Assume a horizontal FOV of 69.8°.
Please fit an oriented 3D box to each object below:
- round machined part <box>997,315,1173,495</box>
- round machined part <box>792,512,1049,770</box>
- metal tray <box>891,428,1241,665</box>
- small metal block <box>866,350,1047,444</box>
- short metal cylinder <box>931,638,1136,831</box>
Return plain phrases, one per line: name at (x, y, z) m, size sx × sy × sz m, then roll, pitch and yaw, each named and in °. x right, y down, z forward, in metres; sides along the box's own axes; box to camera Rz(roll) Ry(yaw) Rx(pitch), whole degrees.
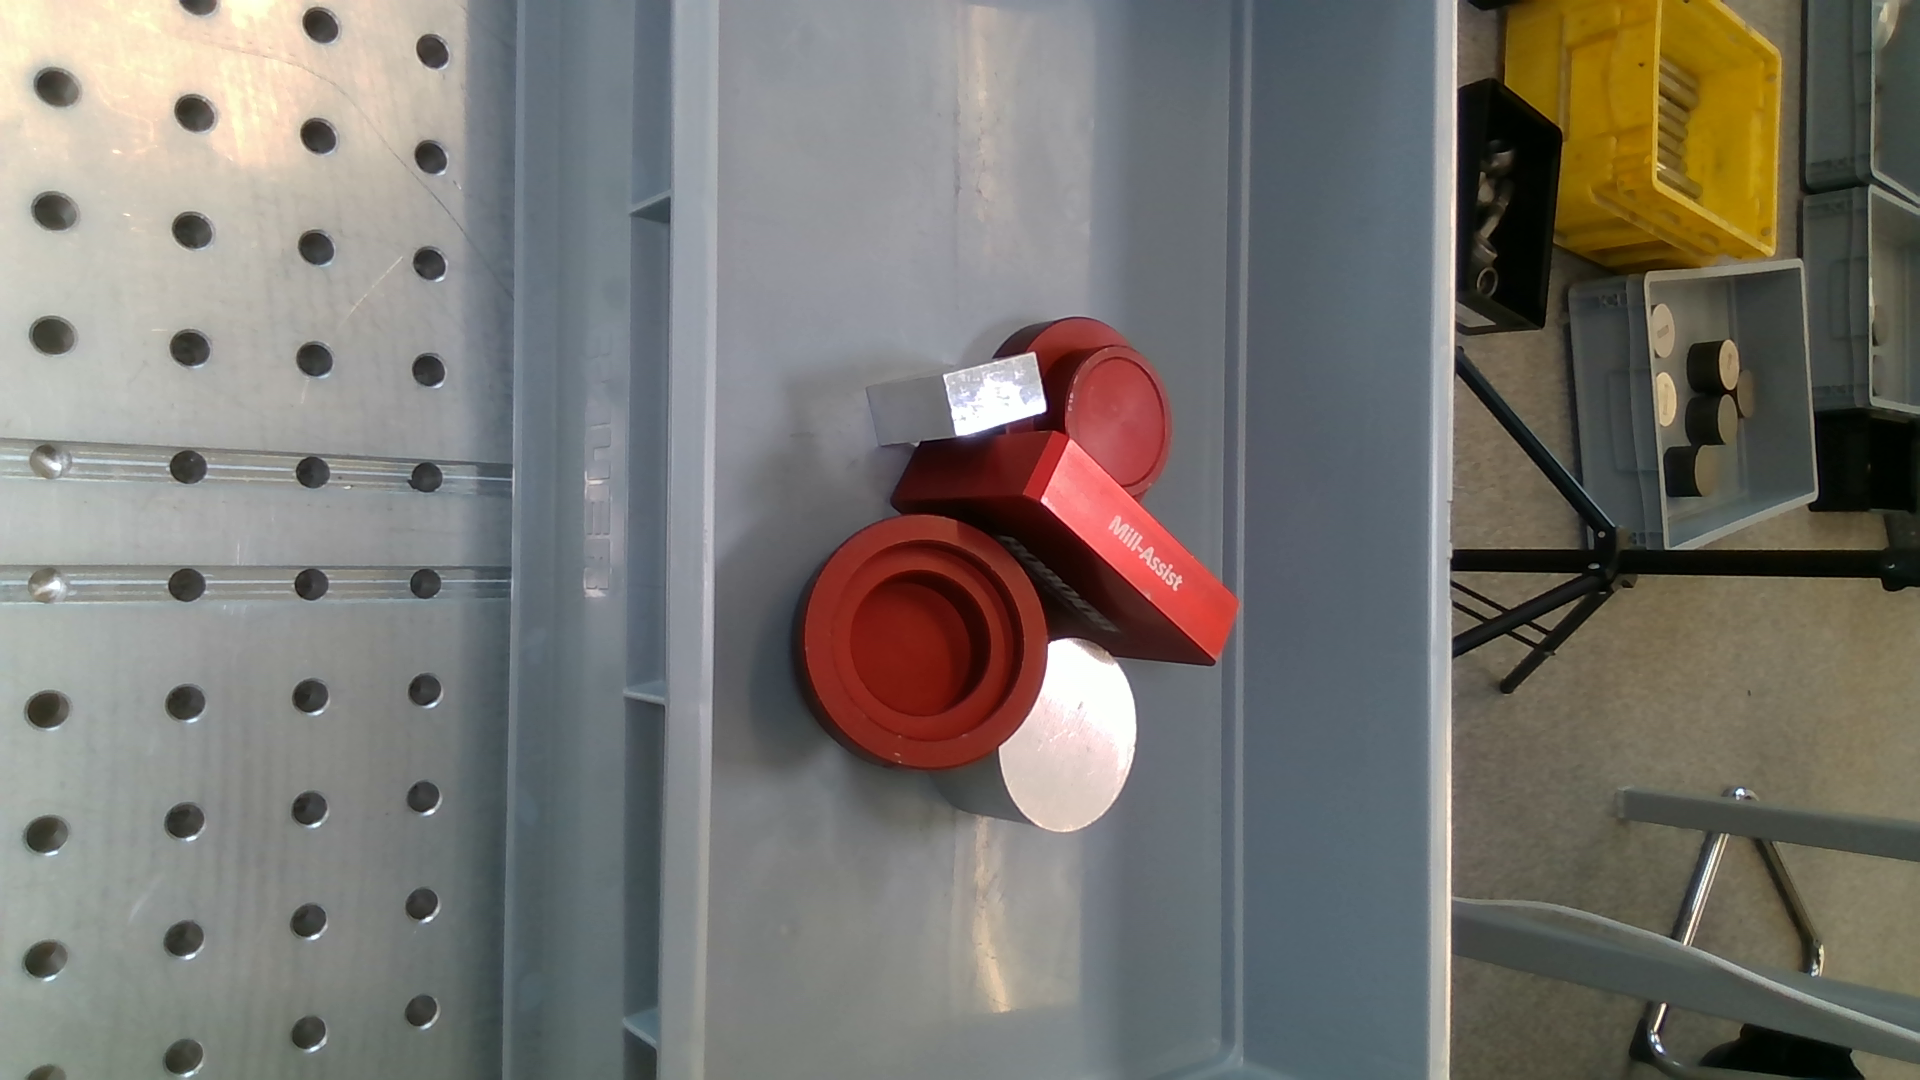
round machined part at (0.058, -0.052, 0.618) m, size 0.098 × 0.042 × 0.098 m, roll 0°, pitch 90°, yaw -40°
round machined part at (-0.018, 0.041, 0.541) m, size 0.098 × 0.042 × 0.098 m, roll 4°, pitch 78°, yaw -18°
metal tray at (0.045, 0.005, 0.577) m, size 0.130 × 0.090 × 0.030 m, roll 40°, pitch 65°, yaw -33°
small metal block at (-0.001, -0.058, 0.563) m, size 0.050 × 0.050 × 0.025 m, roll -20°, pitch 102°, yaw -39°
short metal cylinder at (0.030, 0.081, 0.591) m, size 0.080 × 0.050 × 0.080 m, roll 0°, pitch 90°, yaw -40°
